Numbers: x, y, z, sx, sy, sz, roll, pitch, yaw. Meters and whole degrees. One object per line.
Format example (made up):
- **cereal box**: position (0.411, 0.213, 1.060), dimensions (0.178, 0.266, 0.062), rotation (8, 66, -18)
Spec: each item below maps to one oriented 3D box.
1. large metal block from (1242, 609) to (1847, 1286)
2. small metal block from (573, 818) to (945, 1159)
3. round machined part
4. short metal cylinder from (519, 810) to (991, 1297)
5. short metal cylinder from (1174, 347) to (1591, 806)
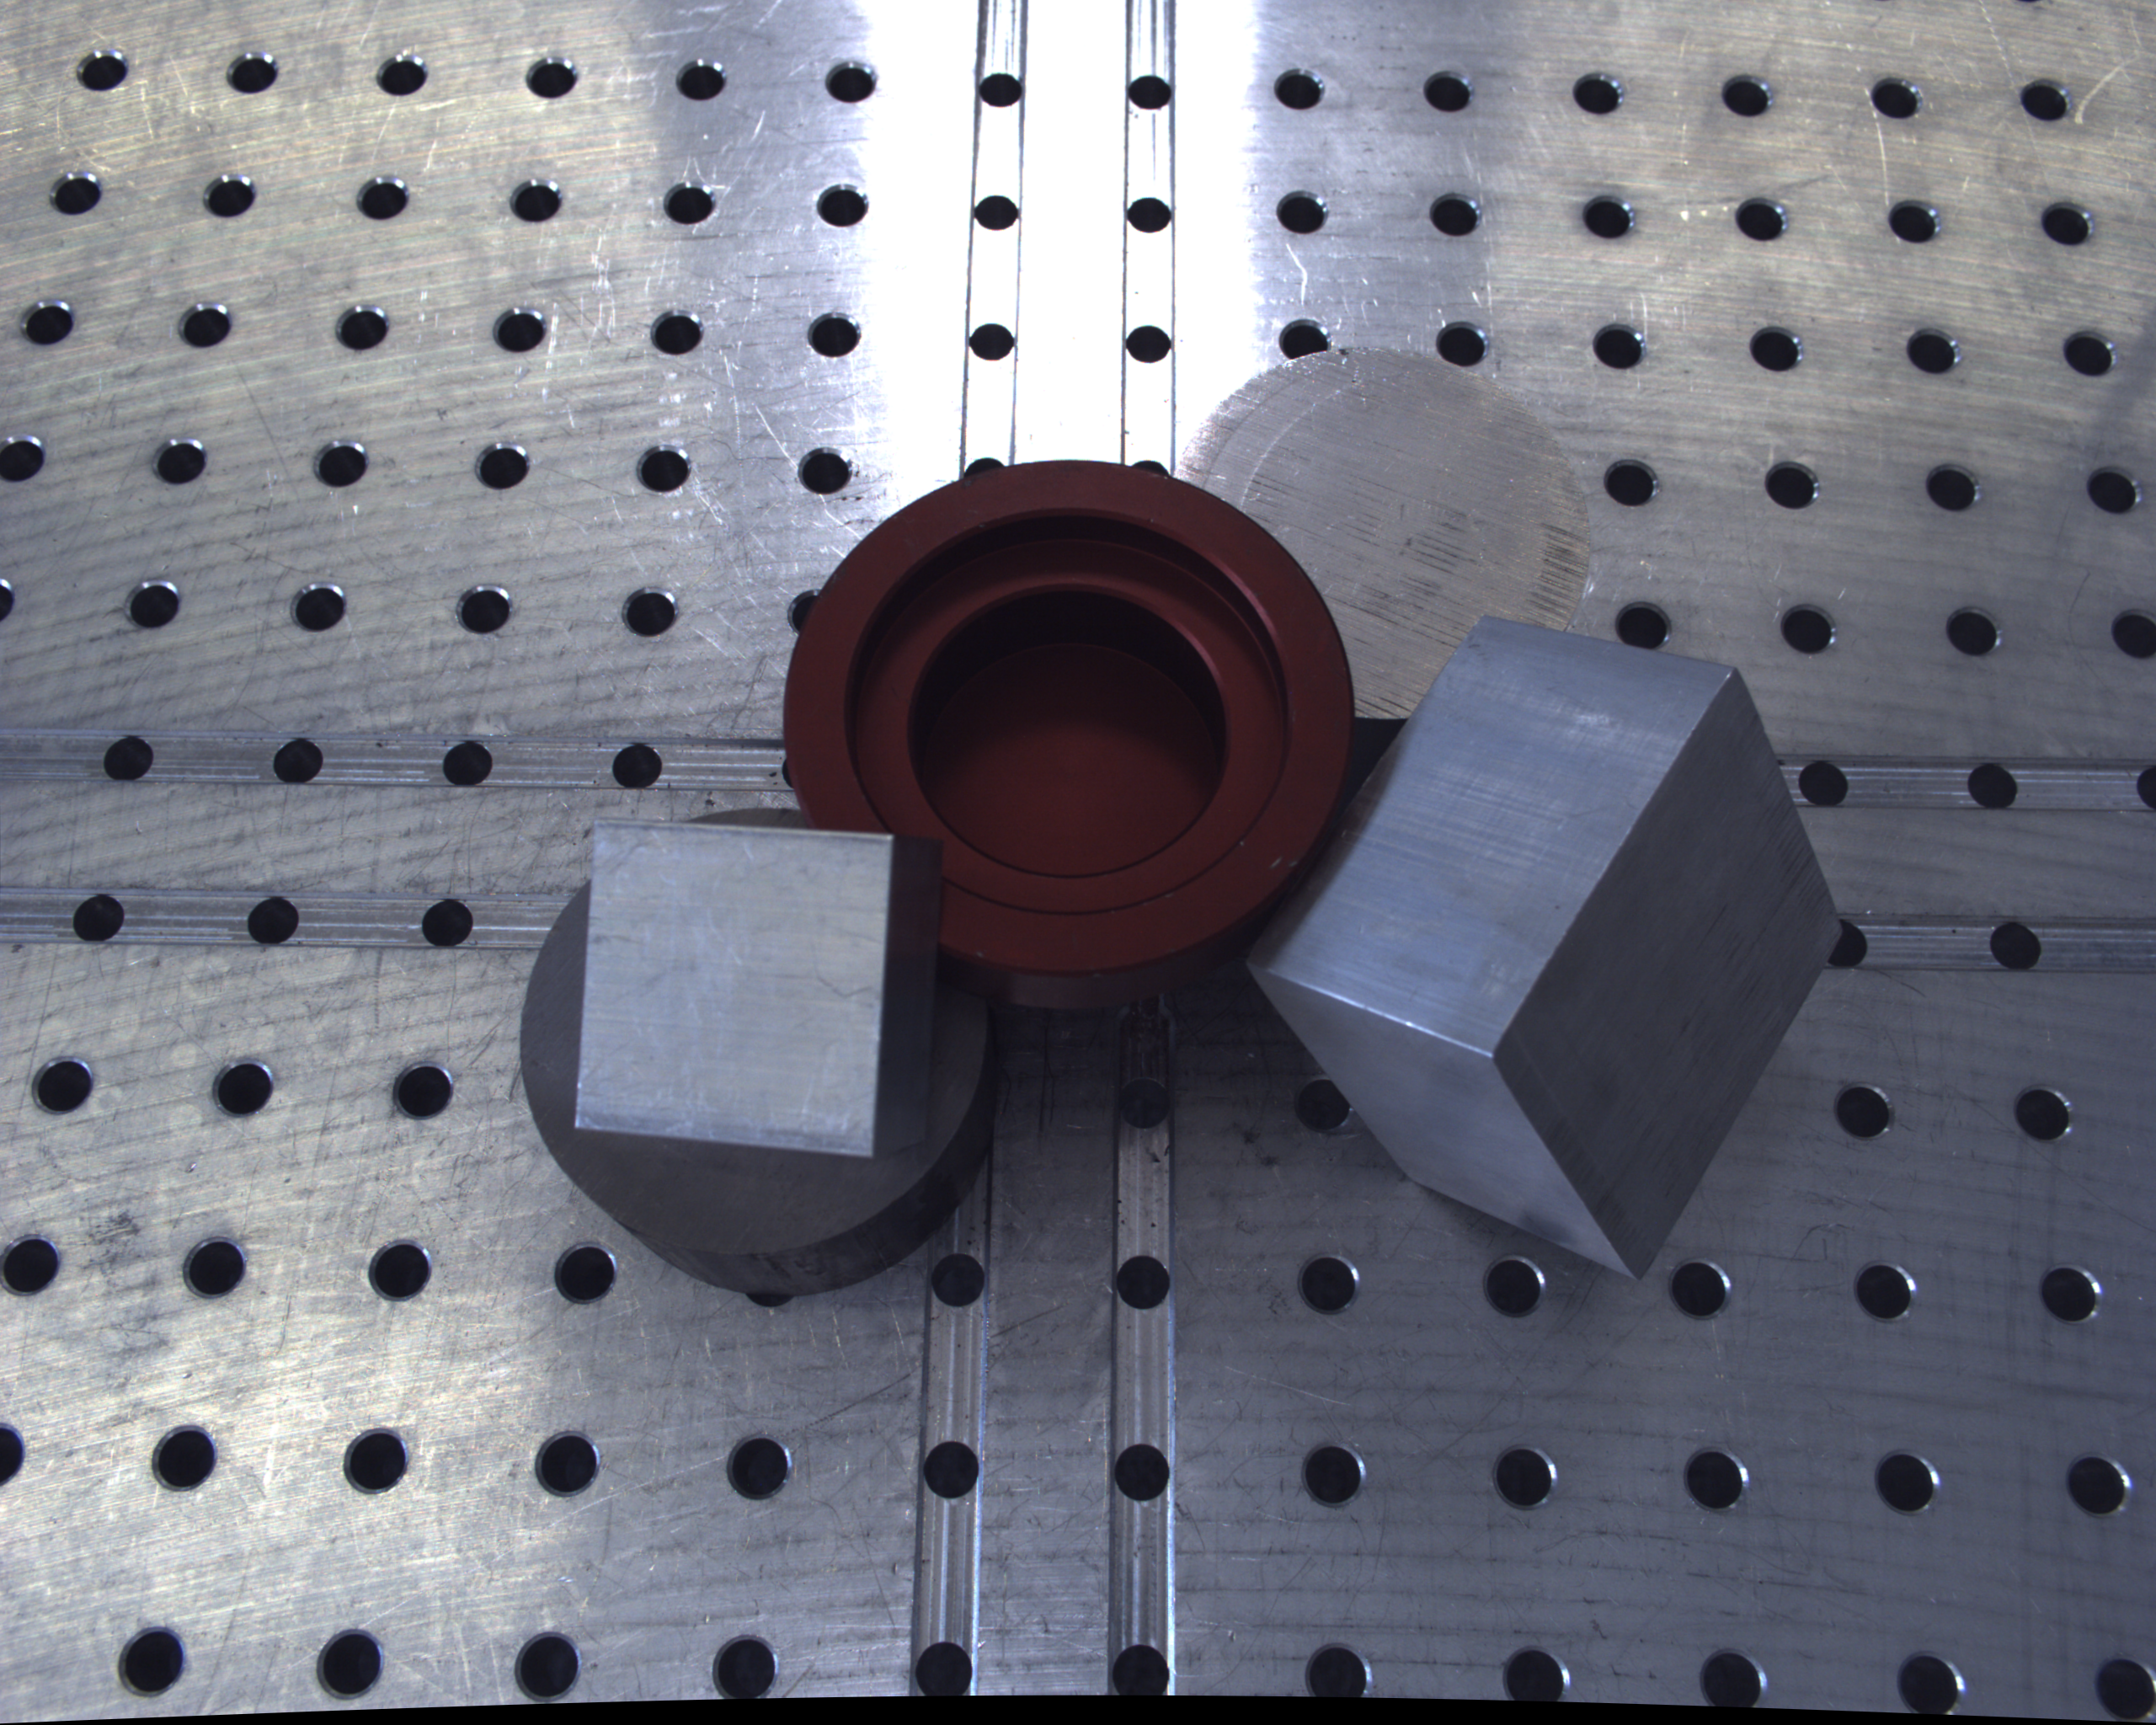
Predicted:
- **large metal block**: position (0.086, 0.015, 0.371), dimensions (0.050, 0.080, 0.080), rotation (20, 67, 43)
- **small metal block**: position (-0.051, 0.019, 0.338), dimensions (0.050, 0.025, 0.050), rotation (4, 89, 14)
- **round machined part**: position (-0.002, -0.020, 0.379), dimensions (0.099, 0.042, 0.098), rotation (0, 70, 0)
- **short metal cylinder**: position (-0.056, 0.036, 0.384), dimensions (0.081, 0.050, 0.080), rotation (0, 70, 0)
- **short metal cylinder**: position (0.057, -0.055, 0.419), dimensions (0.081, 0.050, 0.080), rotation (0, 70, 0)
